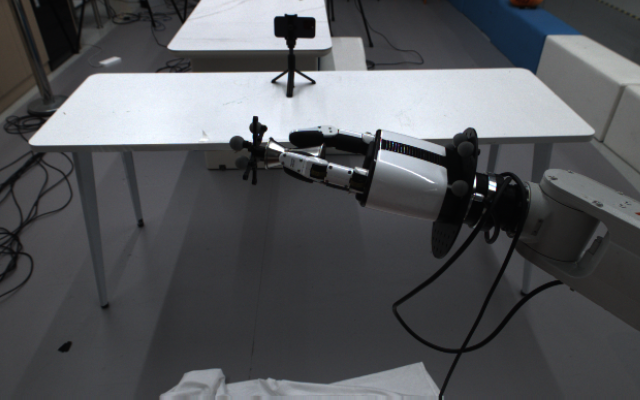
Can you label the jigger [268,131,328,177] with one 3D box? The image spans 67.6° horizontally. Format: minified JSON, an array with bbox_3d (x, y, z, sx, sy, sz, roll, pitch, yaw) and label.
[{"bbox_3d":[-0.023,-0.057,0.594,0.071,0.043,0.043,7,35,7],"label":"jigger"}]
